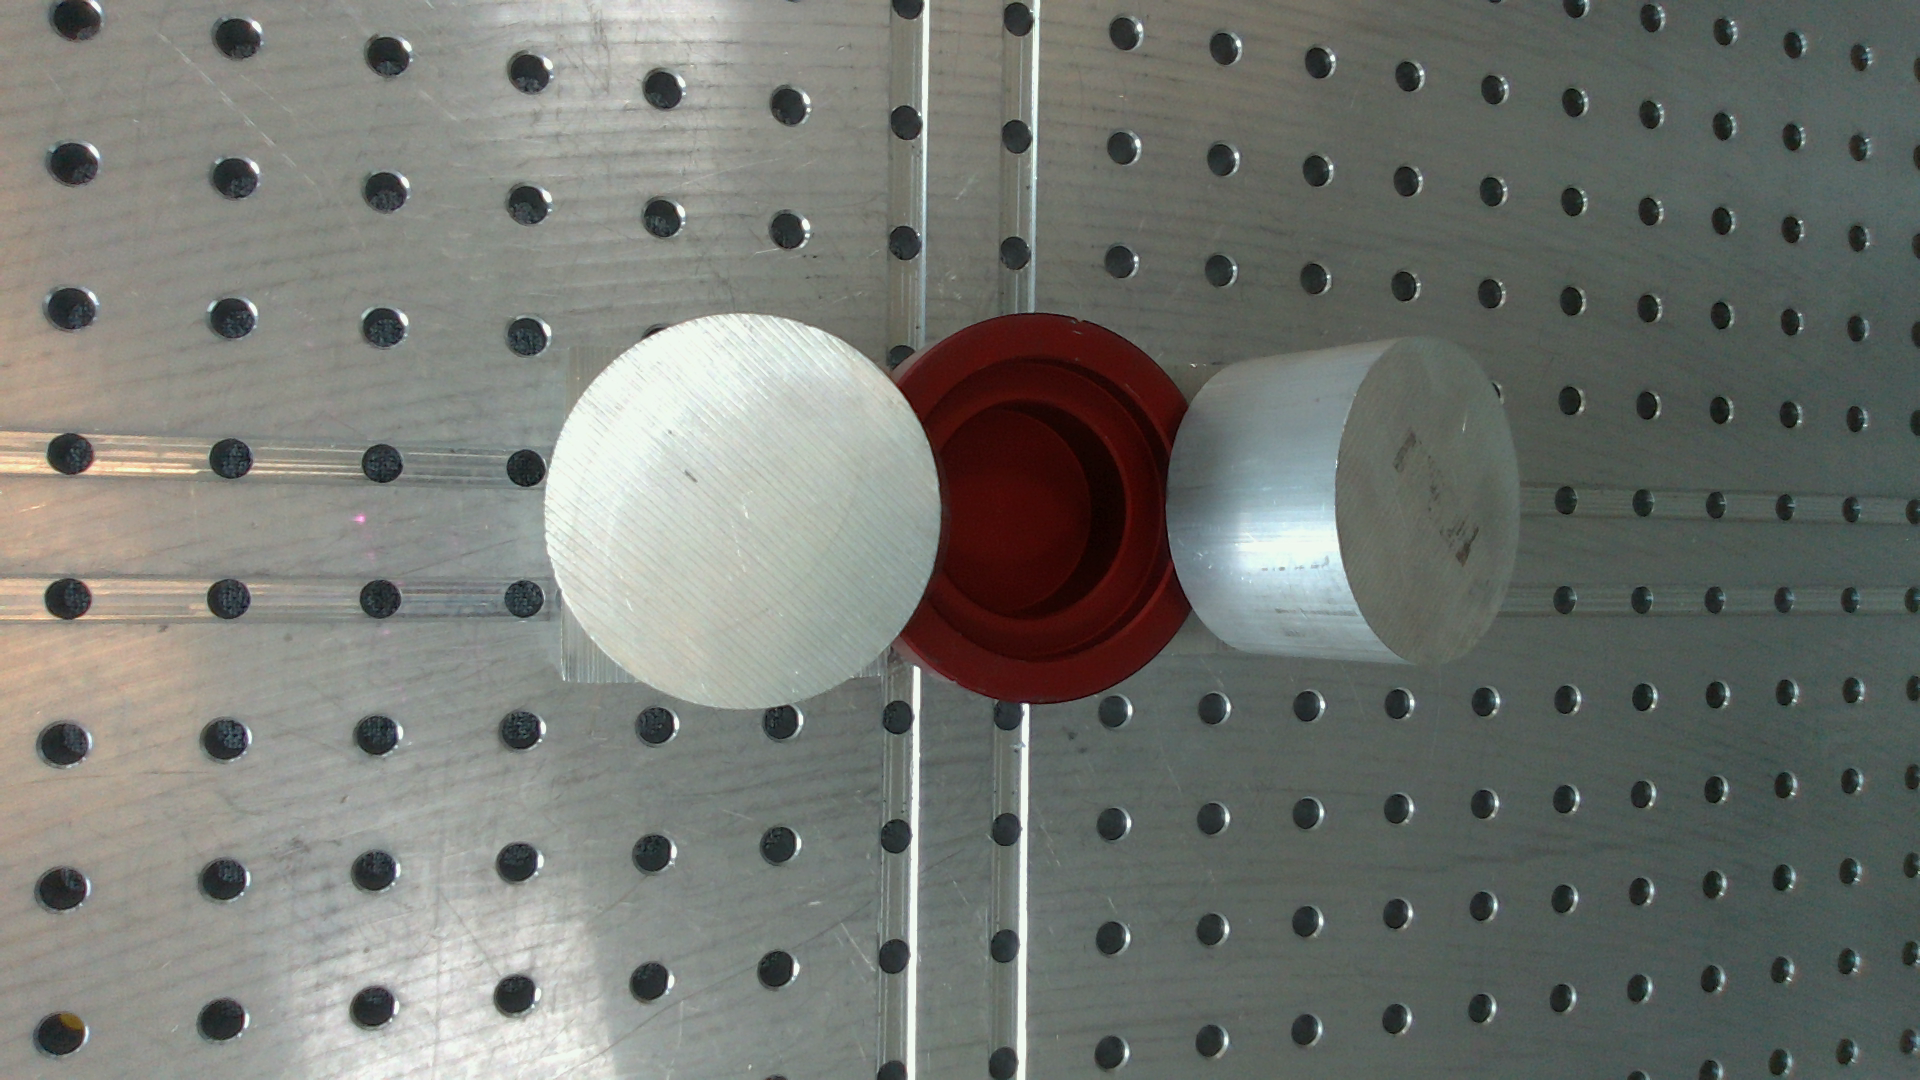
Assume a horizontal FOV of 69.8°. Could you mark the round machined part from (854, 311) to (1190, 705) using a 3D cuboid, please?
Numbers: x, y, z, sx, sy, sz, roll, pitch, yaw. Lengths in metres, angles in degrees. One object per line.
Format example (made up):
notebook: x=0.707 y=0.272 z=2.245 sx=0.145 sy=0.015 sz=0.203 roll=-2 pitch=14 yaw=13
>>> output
round machined part: x=0.014 y=-0.008 z=0.361 sx=0.098 sy=0.042 sz=0.098 roll=0 pitch=90 yaw=-20

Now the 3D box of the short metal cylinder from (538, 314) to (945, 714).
short metal cylinder: x=-0.044 y=-0.006 z=0.300 sx=0.080 sy=0.050 sz=0.080 roll=0 pitch=91 yaw=1

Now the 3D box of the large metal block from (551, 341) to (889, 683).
large metal block: x=-0.065 y=-0.006 z=0.359 sx=0.080 sy=0.050 sz=0.080 roll=1 pitch=90 yaw=-20

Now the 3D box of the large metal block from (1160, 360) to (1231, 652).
large metal block: x=0.076 y=-0.010 z=0.410 sx=0.080 sy=0.050 sz=0.080 roll=-1 pitch=90 yaw=-20

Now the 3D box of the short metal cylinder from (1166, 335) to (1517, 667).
short metal cylinder: x=0.098 y=-0.009 z=0.352 sx=0.080 sy=0.050 sz=0.080 roll=0 pitch=89 yaw=-40
